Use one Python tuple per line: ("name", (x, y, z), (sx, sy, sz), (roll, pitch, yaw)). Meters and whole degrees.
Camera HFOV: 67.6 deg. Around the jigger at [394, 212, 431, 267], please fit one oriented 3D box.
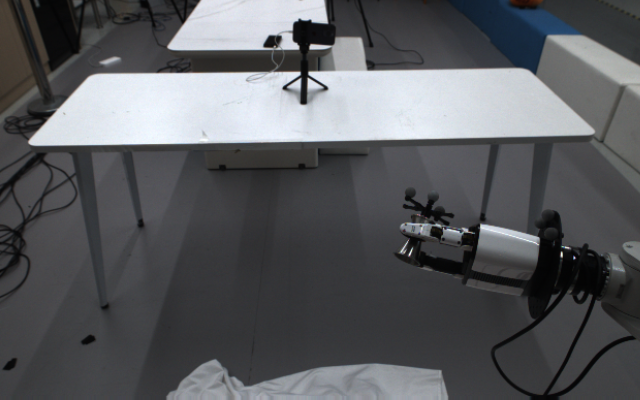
("jigger", (0.144, 0.058, 0.738), (0.043, 0.043, 0.071), (21, 73, 25))
